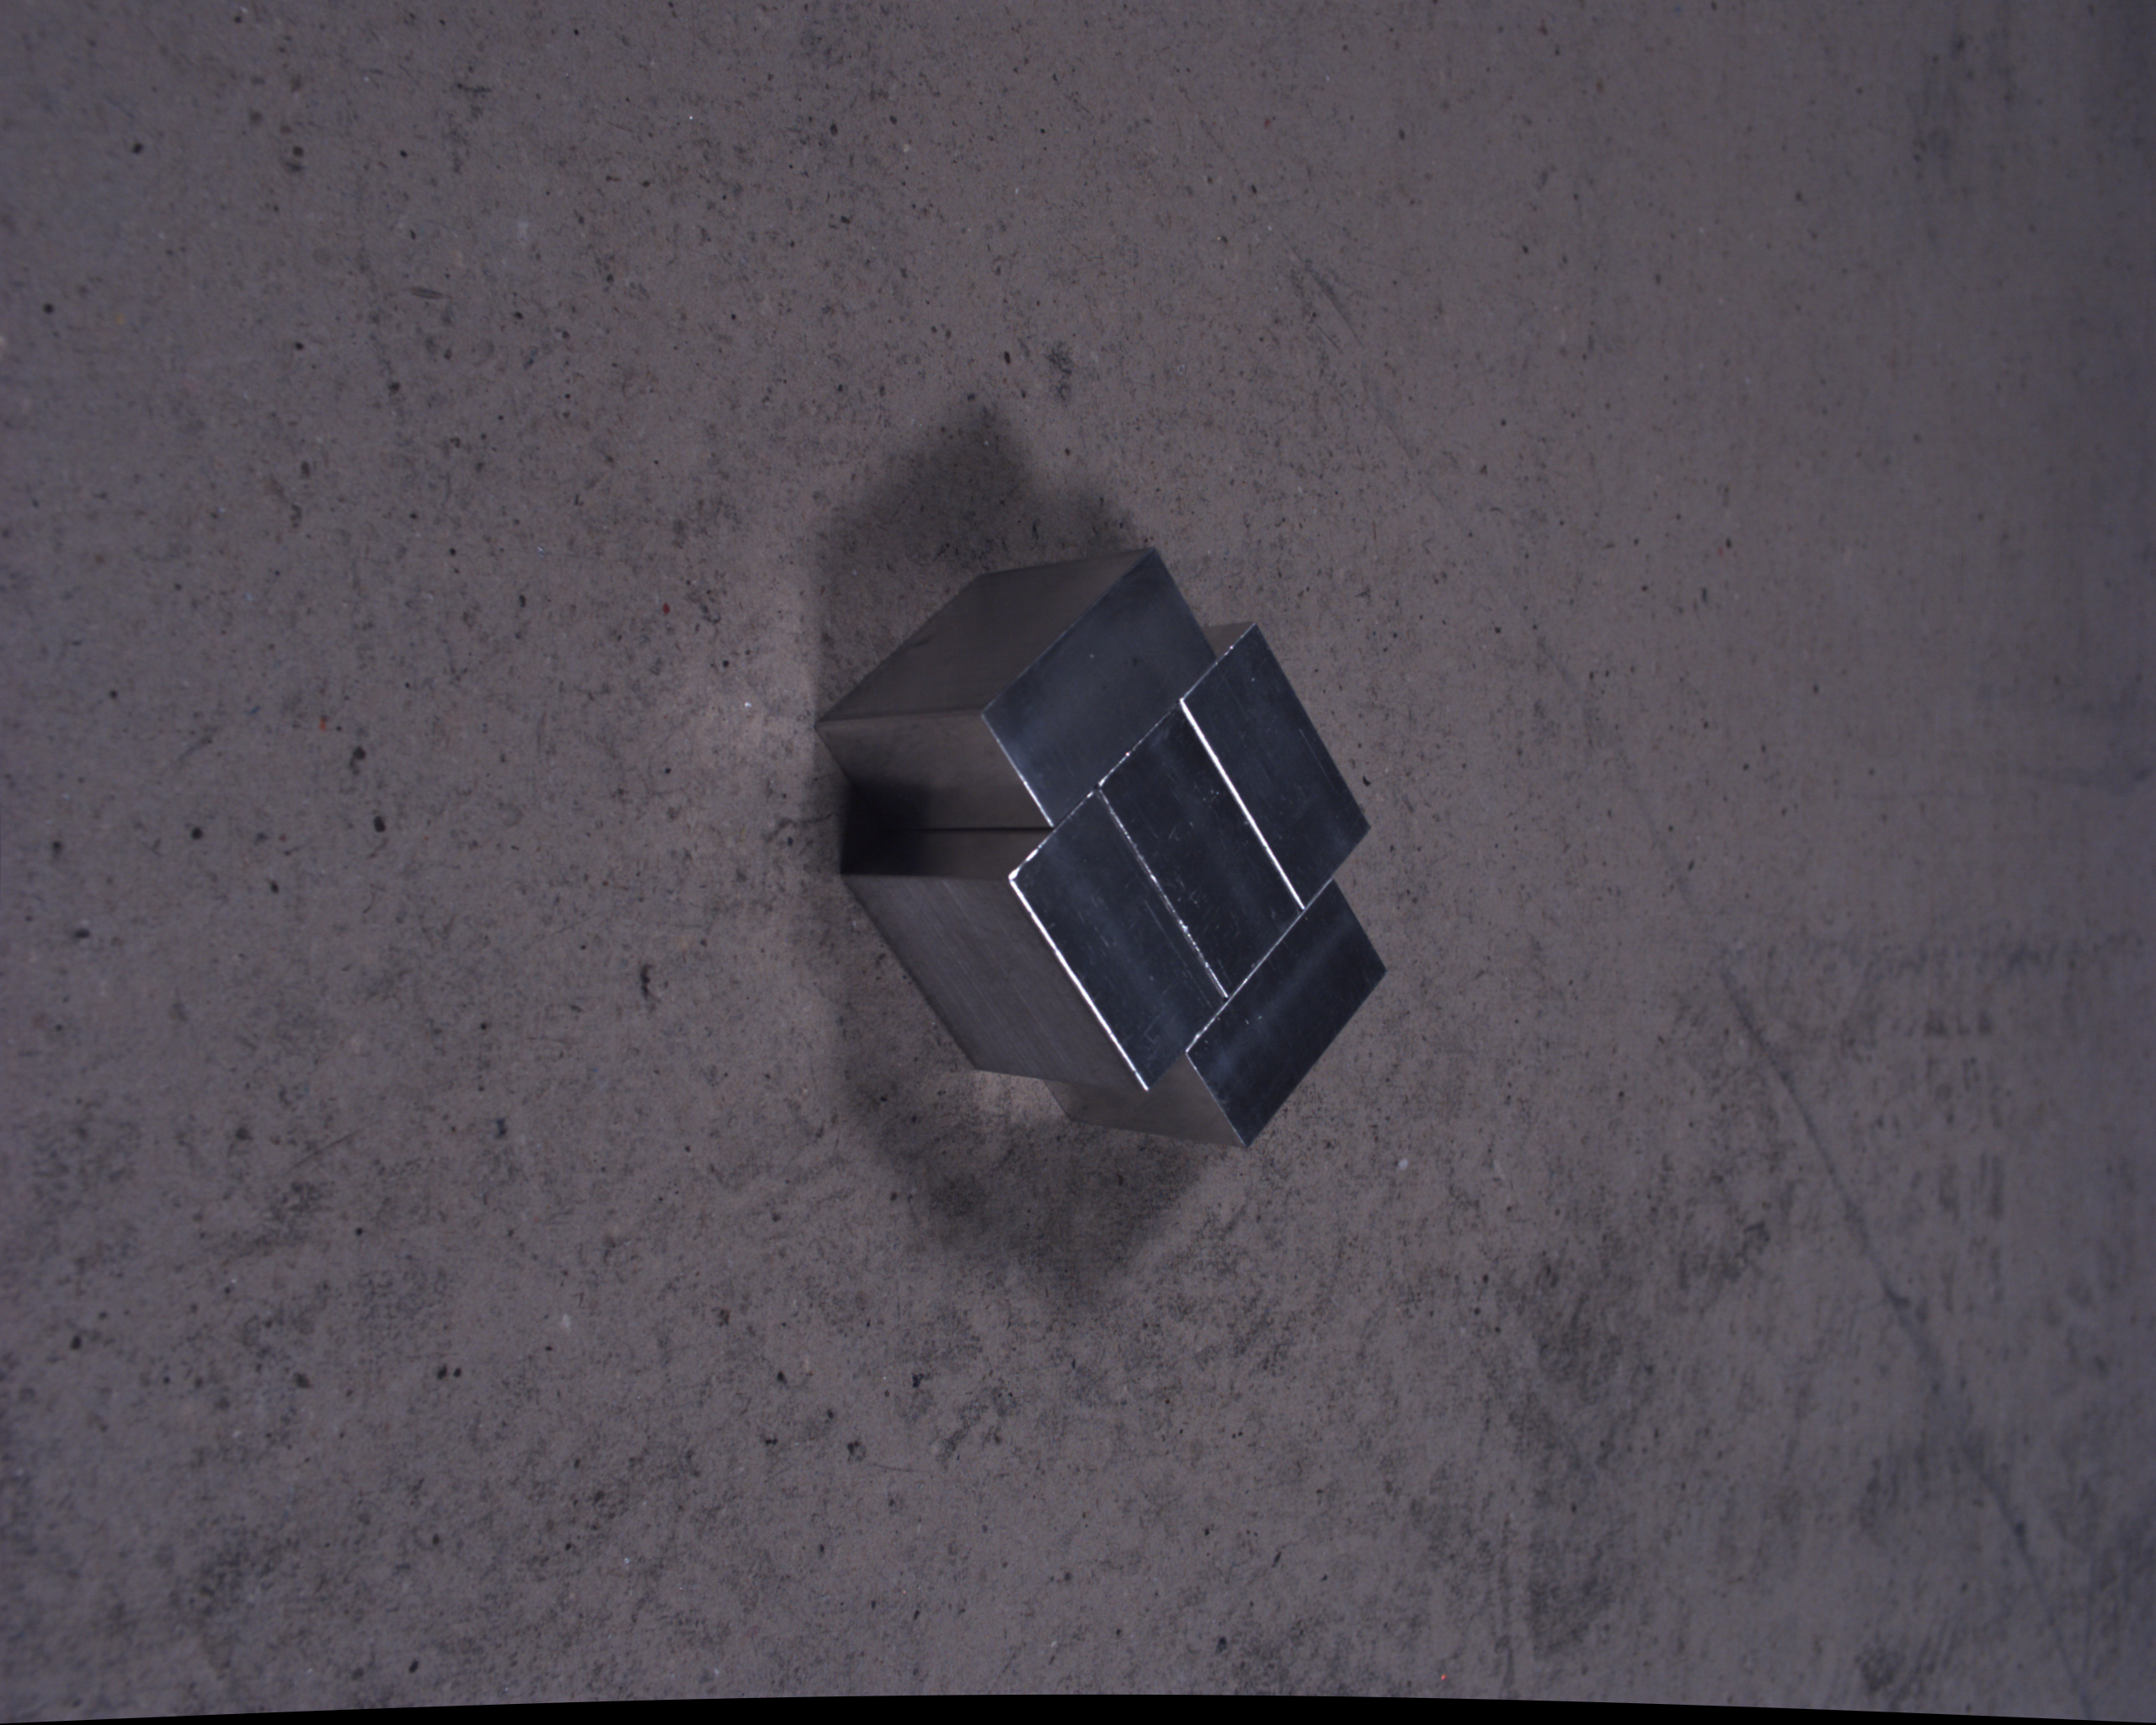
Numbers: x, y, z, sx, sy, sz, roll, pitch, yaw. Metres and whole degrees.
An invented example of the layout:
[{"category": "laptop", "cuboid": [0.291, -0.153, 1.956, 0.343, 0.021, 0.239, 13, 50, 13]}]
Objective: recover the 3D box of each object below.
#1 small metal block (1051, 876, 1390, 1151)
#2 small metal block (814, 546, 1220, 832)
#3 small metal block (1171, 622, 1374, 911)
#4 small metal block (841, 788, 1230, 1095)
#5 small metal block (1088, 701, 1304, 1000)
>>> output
[{"category": "small metal block", "cuboid": [0.024, 0.028, 0.412, 0.050, 0.050, 0.025, -47, 119, -30]}, {"category": "small metal block", "cuboid": [-0.011, -0.031, 0.382, 0.050, 0.050, 0.025, -47, 119, -30]}, {"category": "small metal block", "cuboid": [0.022, -0.018, 0.410, 0.025, 0.050, 0.050, -49, 119, -29]}, {"category": "small metal block", "cuboid": [-0.008, 0.014, 0.384, 0.025, 0.050, 0.050, -48, 119, -30]}, {"category": "small metal block", "cuboid": [0.007, -0.002, 0.397, 0.025, 0.050, 0.050, -48, 119, -30]}]
